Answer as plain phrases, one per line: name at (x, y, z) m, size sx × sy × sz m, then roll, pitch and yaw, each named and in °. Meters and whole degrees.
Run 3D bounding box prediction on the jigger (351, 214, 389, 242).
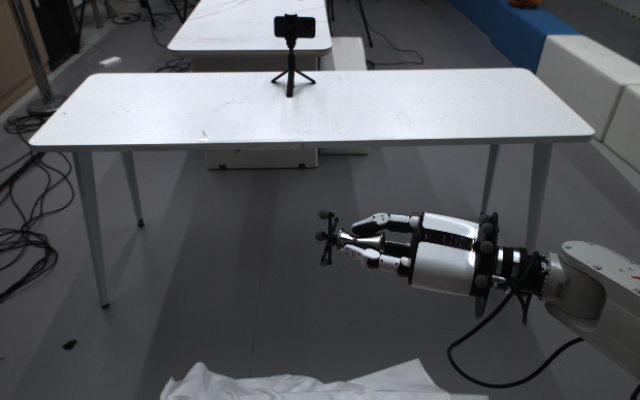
jigger at (0.071, 0.064, 0.756) m, size 0.071 × 0.043 × 0.043 m, roll 6°, pitch 34°, yaw 17°
